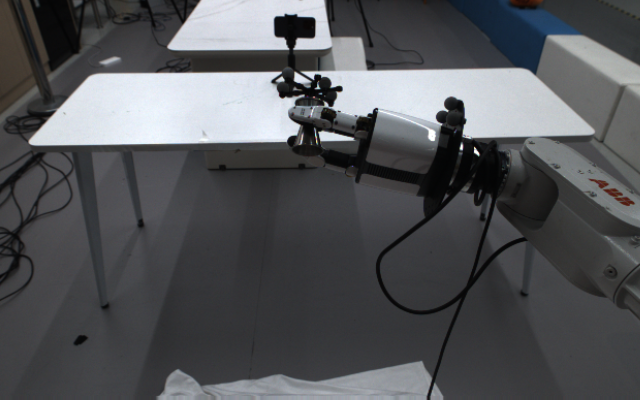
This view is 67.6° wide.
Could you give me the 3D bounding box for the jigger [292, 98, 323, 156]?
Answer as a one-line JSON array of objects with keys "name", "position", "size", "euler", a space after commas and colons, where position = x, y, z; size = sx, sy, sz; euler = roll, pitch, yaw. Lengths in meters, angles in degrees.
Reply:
[{"name": "jigger", "position": [-0.016, -0.098, 0.640], "size": [0.043, 0.043, 0.071], "euler": [3, 76, 1]}]
